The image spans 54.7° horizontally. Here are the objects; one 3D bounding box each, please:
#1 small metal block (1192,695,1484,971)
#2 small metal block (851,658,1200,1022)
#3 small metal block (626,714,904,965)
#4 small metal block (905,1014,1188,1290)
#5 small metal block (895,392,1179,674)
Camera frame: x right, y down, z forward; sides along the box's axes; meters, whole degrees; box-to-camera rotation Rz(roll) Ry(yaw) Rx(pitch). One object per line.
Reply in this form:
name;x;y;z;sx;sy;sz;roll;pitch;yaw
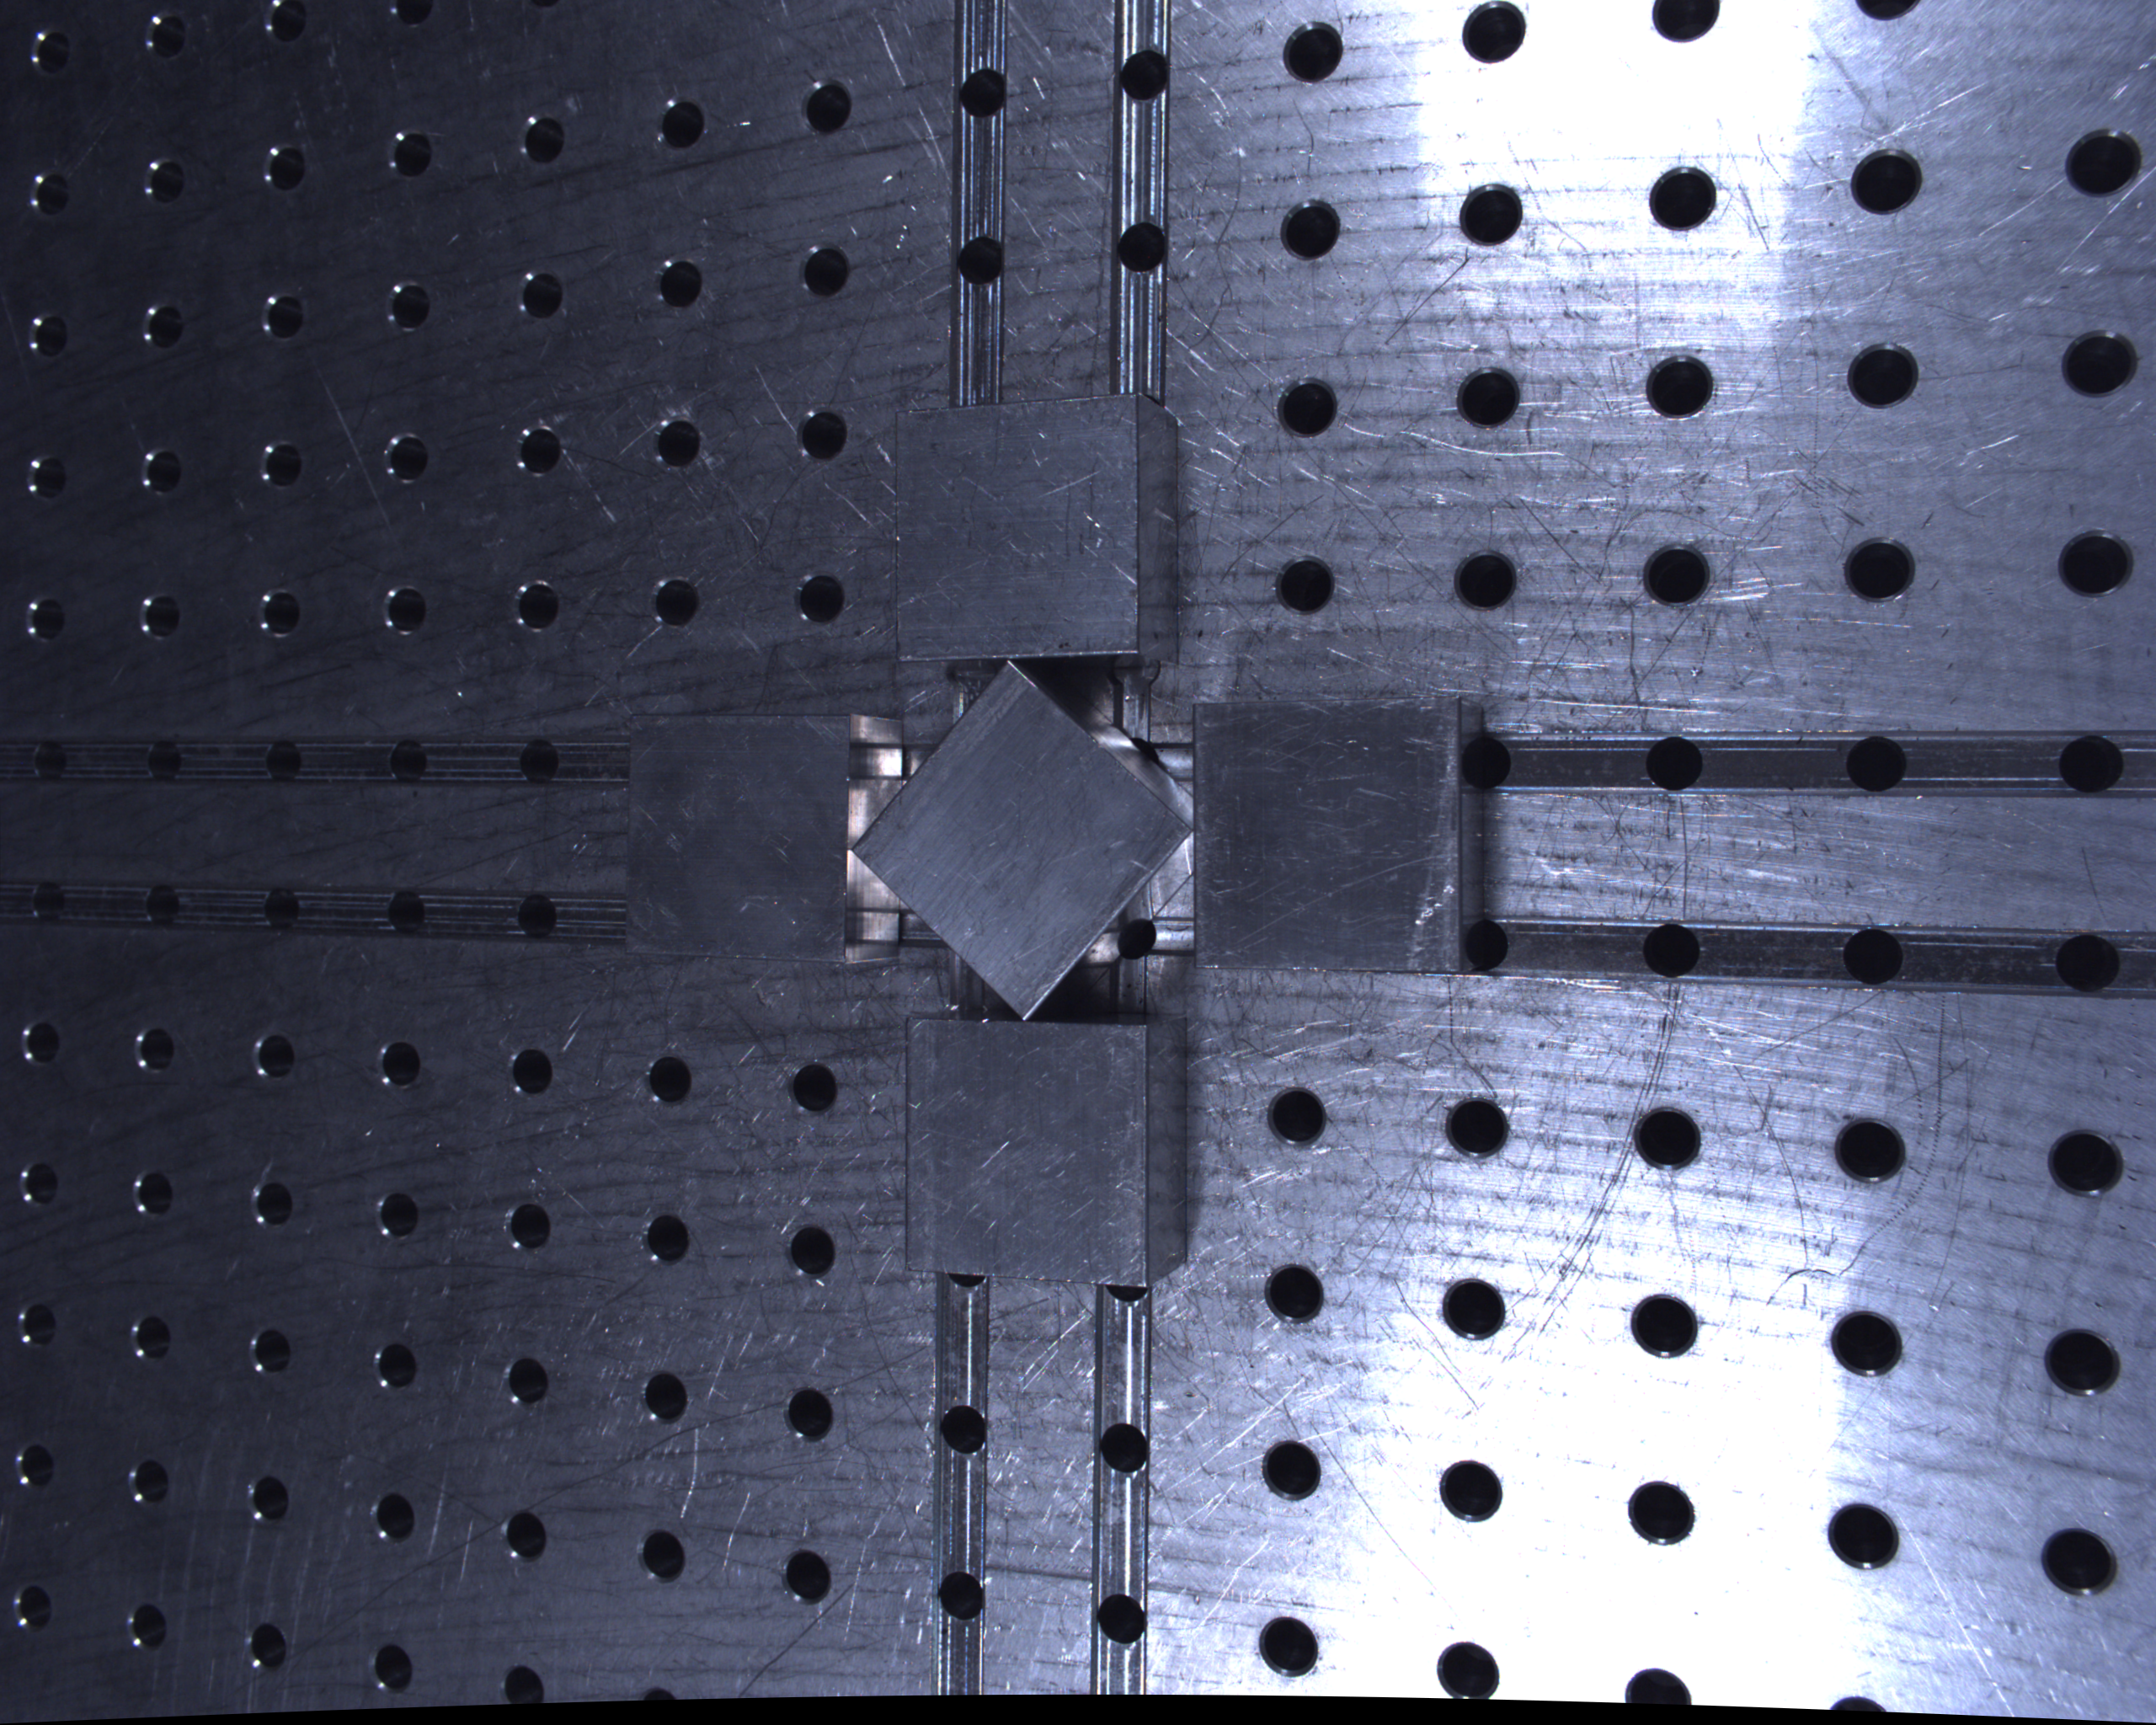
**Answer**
small metal block;0.049;-0.005;0.394;0.050;0.025;0.050;0;90;19
small metal block;-0.007;-0.005;0.414;0.050;0.025;0.050;44;103;14
small metal block;-0.065;-0.005;0.434;0.050;0.025;0.050;2;91;19
small metal block;-0.006;0.056;0.414;0.050;0.025;0.050;0;90;19
small metal block;-0.008;-0.064;0.414;0.050;0.025;0.050;-1;90;19
